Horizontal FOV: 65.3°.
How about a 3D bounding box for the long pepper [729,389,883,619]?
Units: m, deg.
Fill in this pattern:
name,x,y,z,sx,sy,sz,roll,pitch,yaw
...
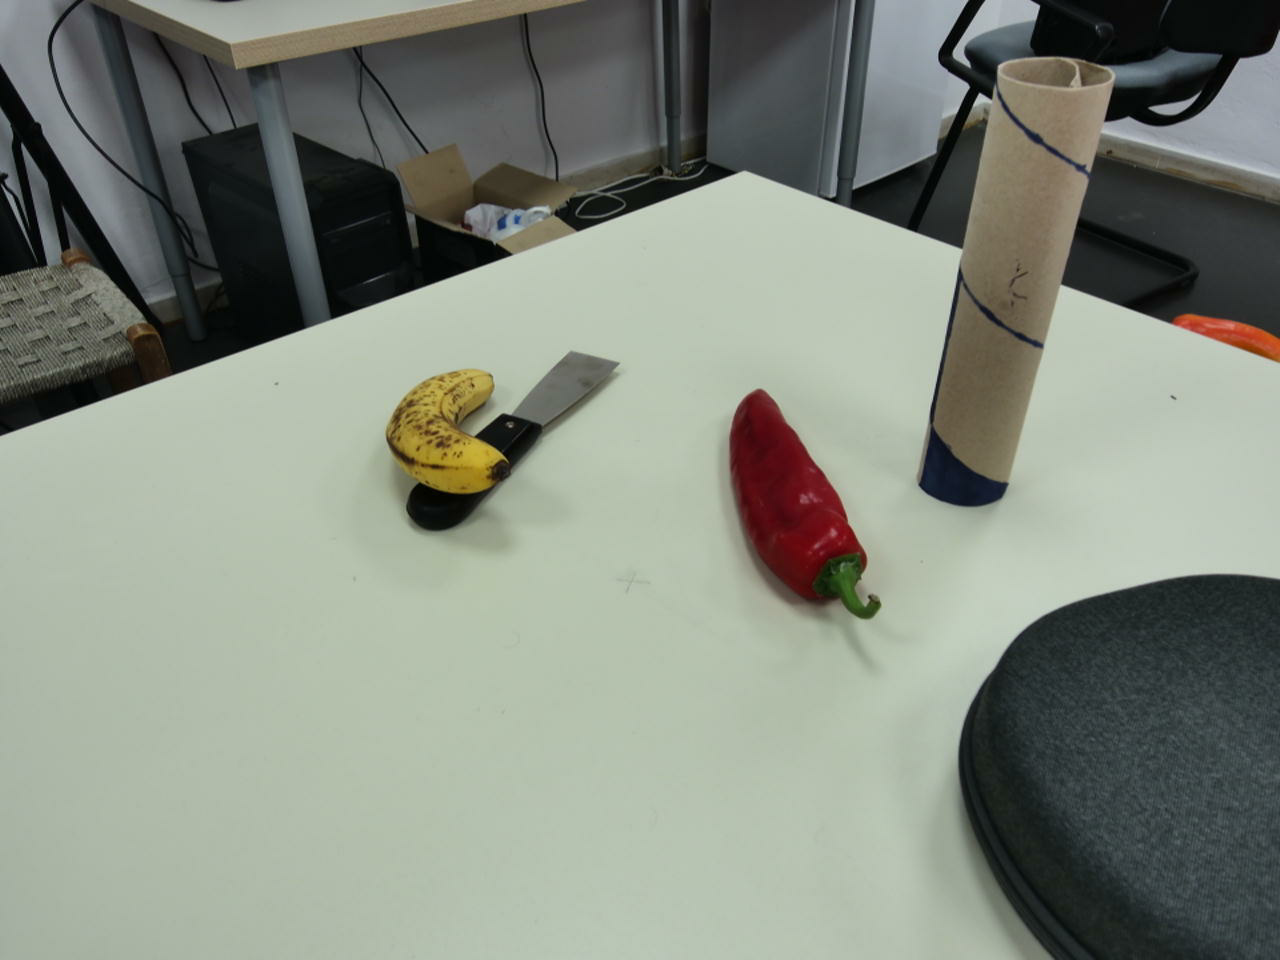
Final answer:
name,x,y,z,sx,sy,sz,roll,pitch,yaw
long pepper,0.079,0.008,0.531,0.050,0.043,0.211,-5,36,-6
